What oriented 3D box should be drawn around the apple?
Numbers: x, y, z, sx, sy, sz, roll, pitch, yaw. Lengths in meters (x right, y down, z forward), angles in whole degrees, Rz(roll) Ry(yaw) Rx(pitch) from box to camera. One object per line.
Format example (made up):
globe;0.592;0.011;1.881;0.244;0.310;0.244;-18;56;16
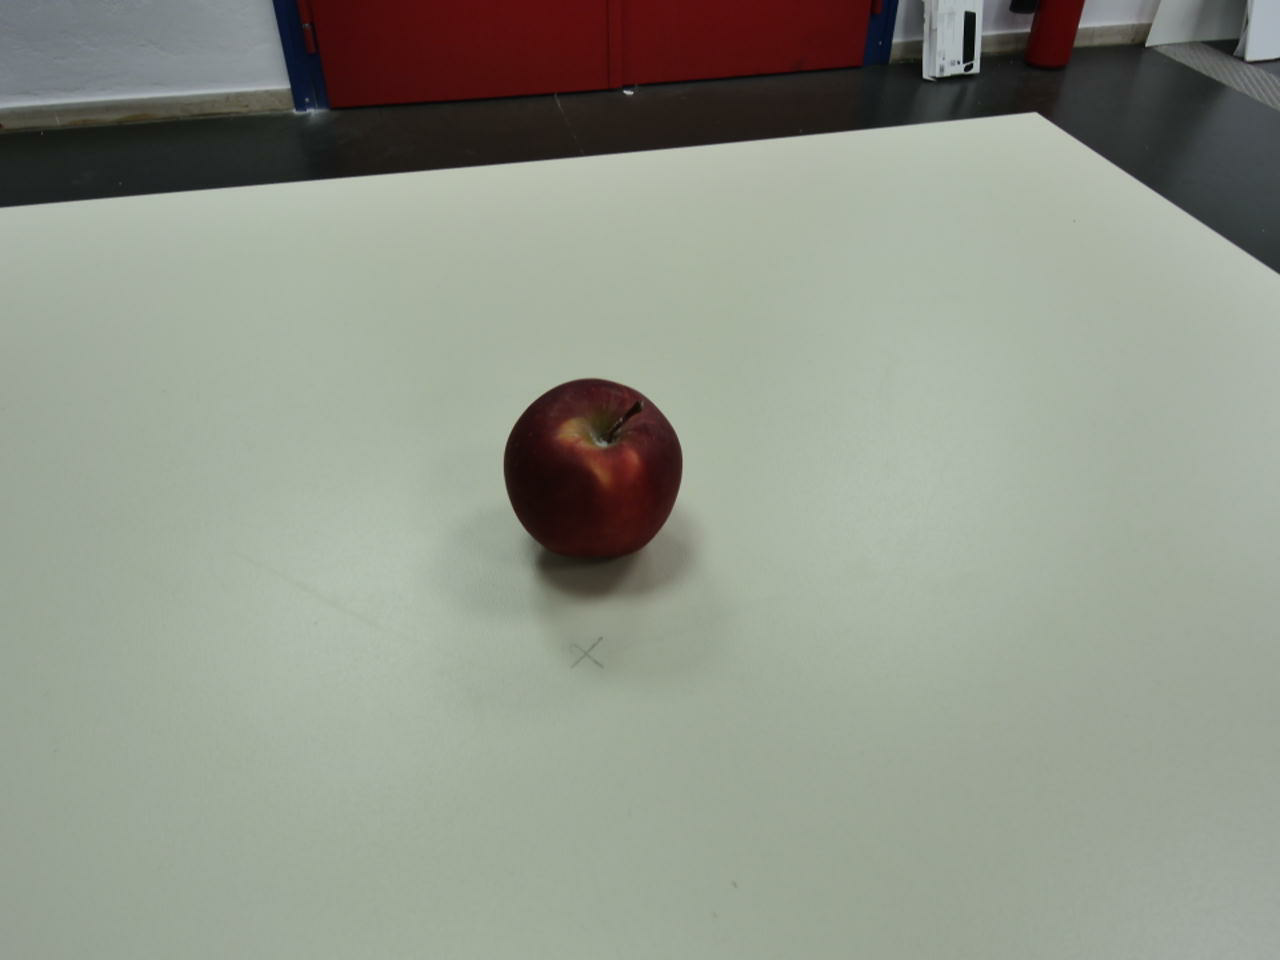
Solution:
apple;-0.017;-0.003;0.387;0.070;0.072;0.070;1;38;-1
